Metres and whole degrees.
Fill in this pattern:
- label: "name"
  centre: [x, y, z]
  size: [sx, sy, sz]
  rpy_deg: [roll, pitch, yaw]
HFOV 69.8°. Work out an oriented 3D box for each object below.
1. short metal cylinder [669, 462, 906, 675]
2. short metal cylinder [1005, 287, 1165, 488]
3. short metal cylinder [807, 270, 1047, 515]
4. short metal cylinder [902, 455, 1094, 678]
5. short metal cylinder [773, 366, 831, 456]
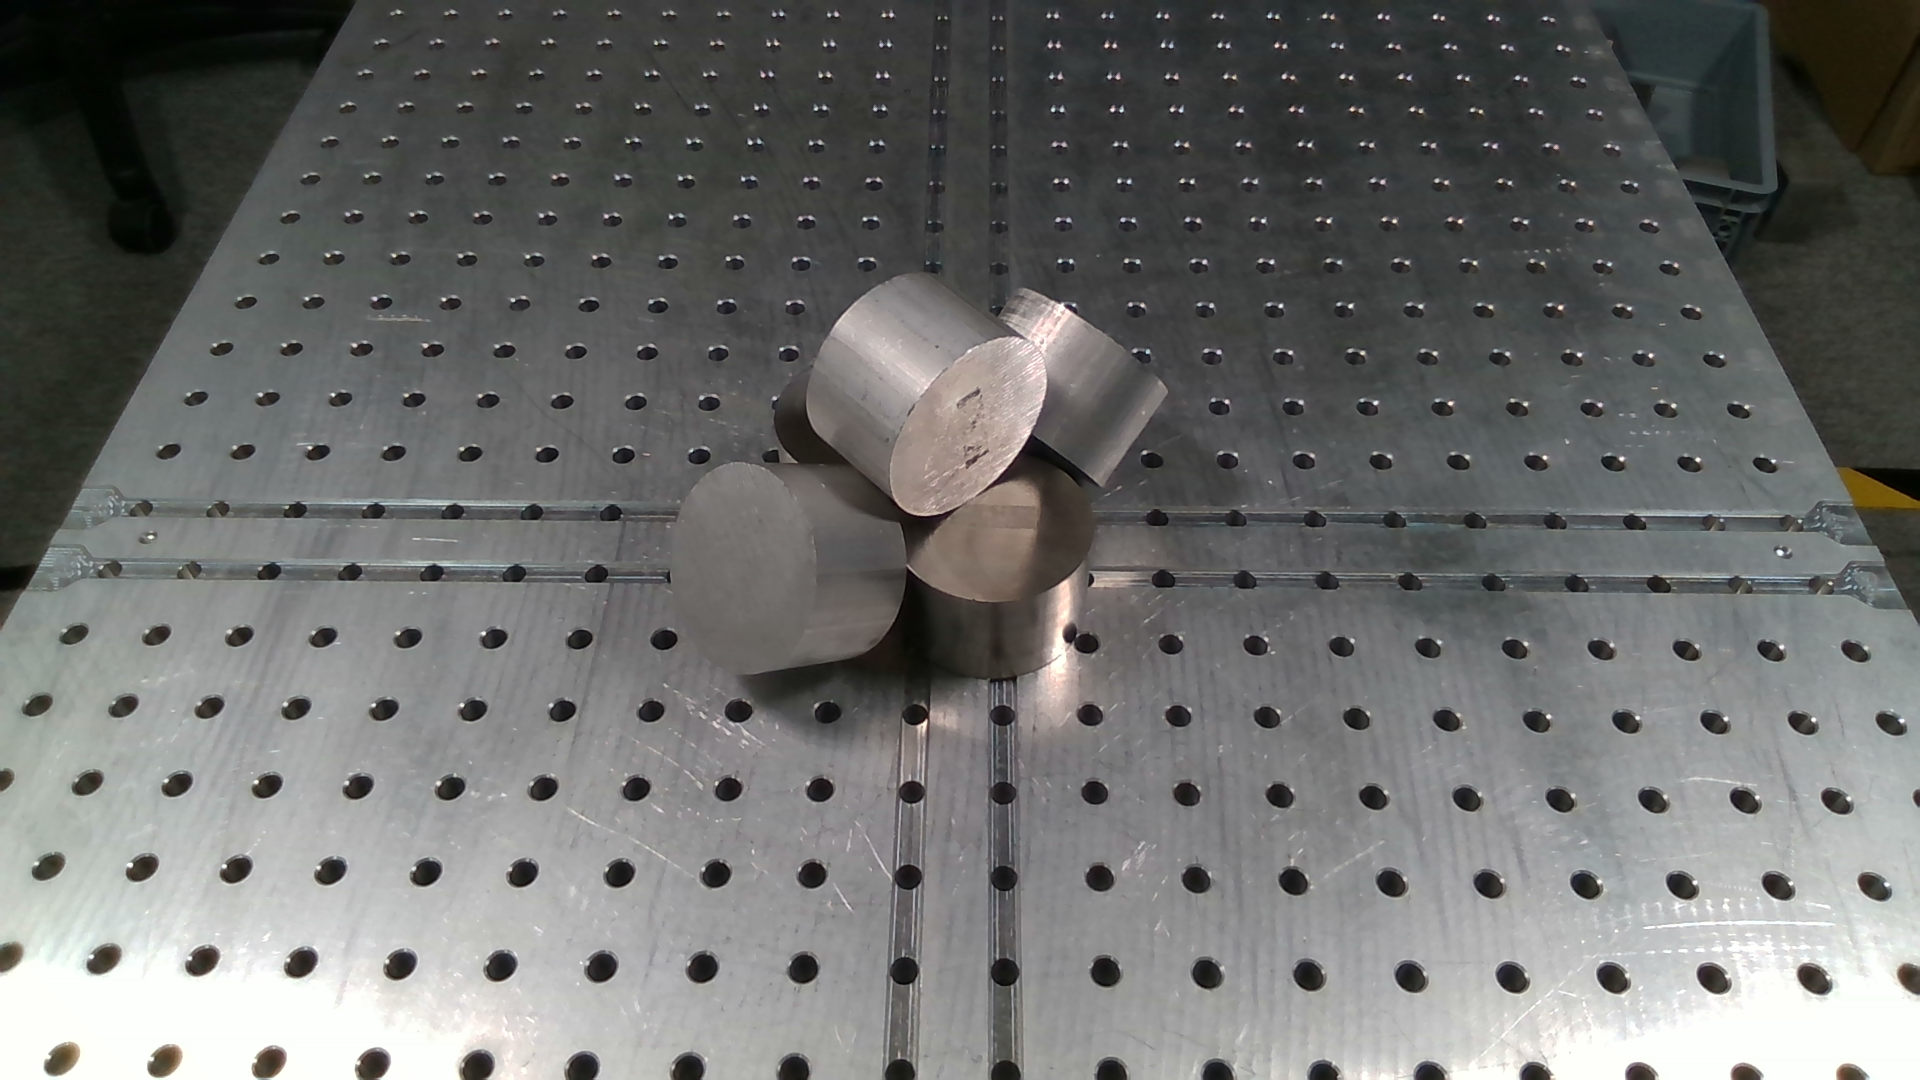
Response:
- label: "short metal cylinder"
  centre: [-0.068, 0.010, 0.537]
  size: [0.080, 0.080, 0.050]
  rpy_deg: [42, 26, 29]
- label: "short metal cylinder"
  centre: [0.043, -0.066, 0.600]
  size: [0.080, 0.080, 0.050]
  rpy_deg: [36, 93, 26]
- label: "short metal cylinder"
  centre: [-0.012, -0.057, 0.535]
  size: [0.080, 0.080, 0.050]
  rpy_deg: [-34, 58, -25]
- label: "short metal cylinder"
  centre: [0.013, 0.009, 0.565]
  size: [0.080, 0.050, 0.080]
  rpy_deg: [0, 50, 0]
- label: "short metal cylinder"
  centre: [-0.039, -0.038, 0.605]
  size: [0.080, 0.050, 0.080]
  rpy_deg: [0, 50, 0]
